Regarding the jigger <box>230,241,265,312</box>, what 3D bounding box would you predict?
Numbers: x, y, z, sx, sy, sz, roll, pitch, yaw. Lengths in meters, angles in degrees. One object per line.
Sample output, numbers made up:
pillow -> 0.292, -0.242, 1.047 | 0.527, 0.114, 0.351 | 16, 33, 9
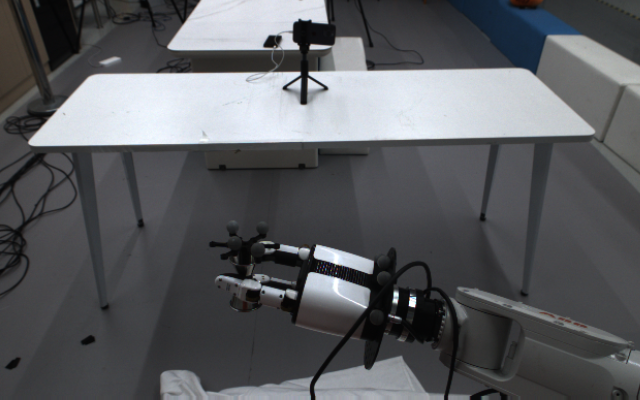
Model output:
jigger -> -0.097, 0.103, 0.636 | 0.043, 0.071, 0.043 | 2, 20, -1
